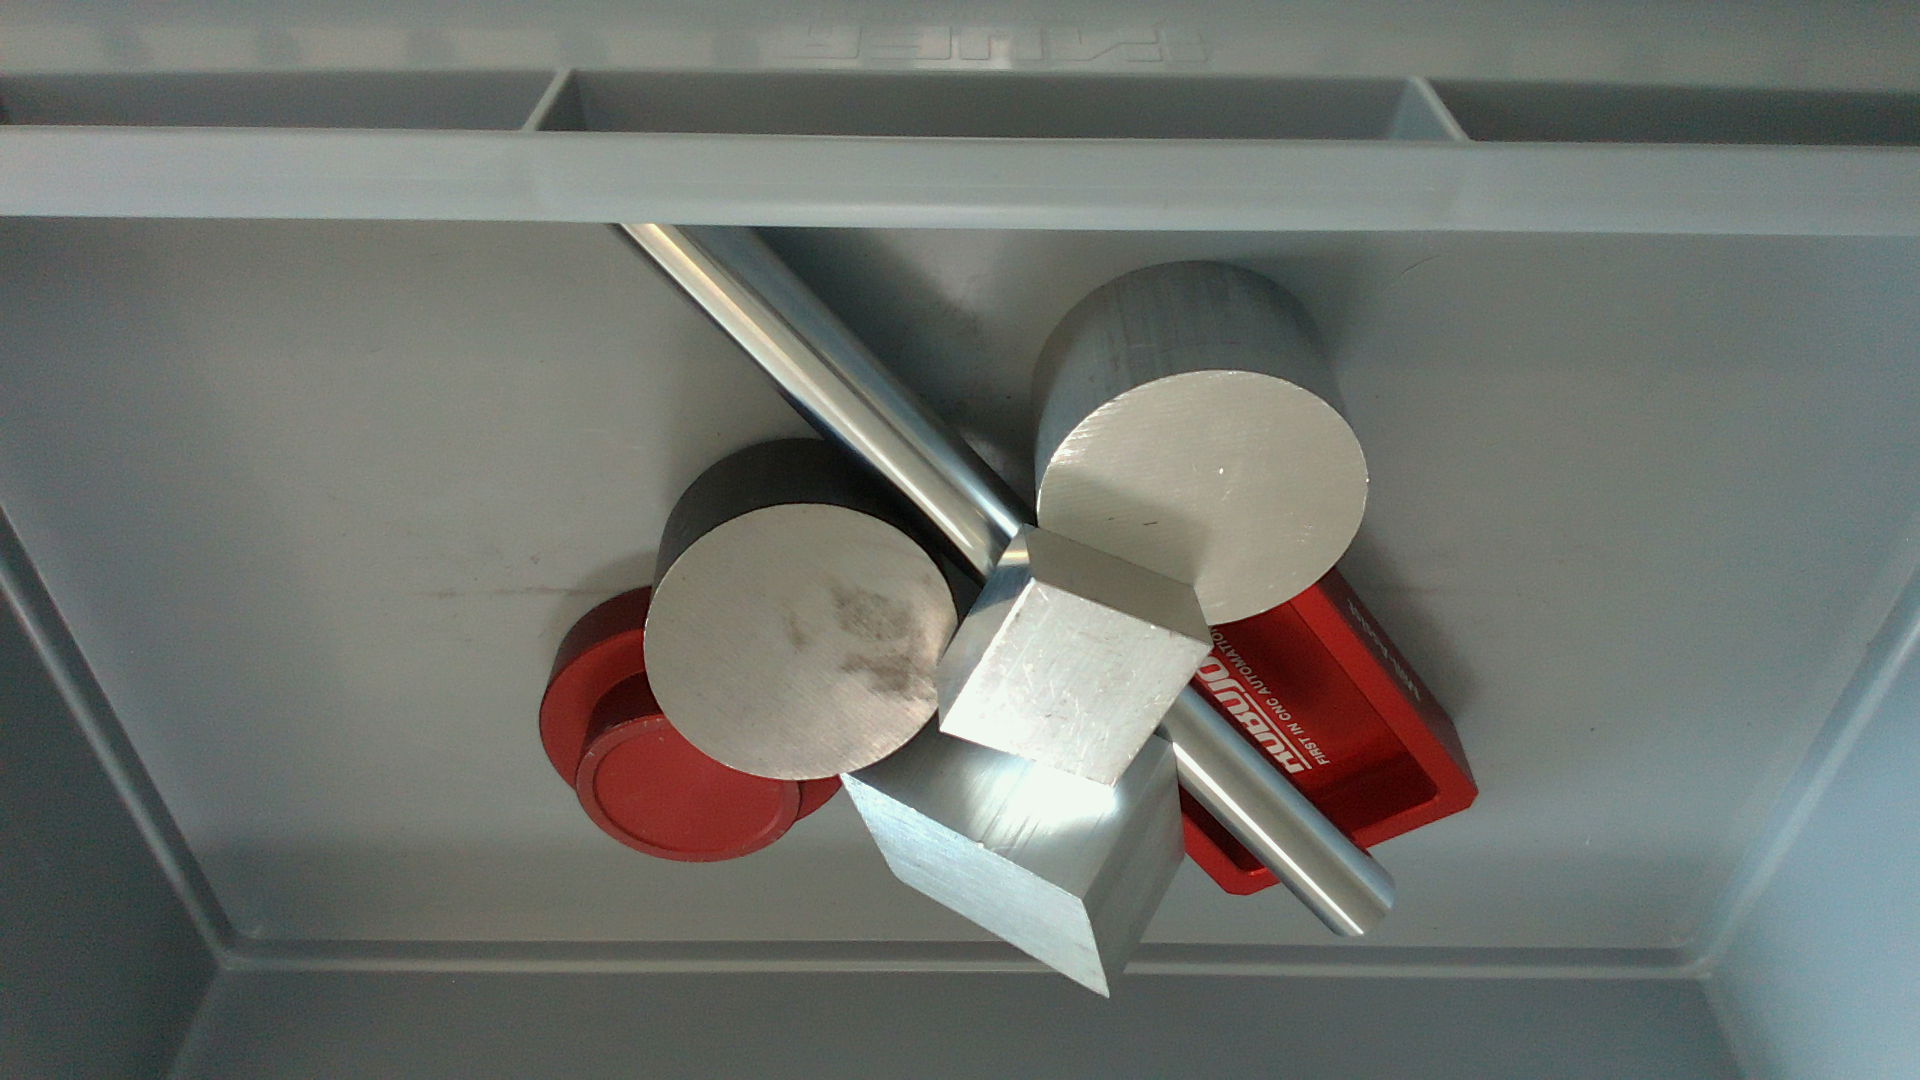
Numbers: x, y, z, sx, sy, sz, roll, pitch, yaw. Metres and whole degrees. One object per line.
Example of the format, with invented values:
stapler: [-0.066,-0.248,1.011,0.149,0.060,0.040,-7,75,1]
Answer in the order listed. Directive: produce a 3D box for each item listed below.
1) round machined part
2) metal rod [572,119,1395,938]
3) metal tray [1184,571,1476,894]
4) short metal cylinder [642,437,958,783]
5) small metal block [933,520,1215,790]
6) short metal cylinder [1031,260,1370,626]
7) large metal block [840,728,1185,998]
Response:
round machined part: [-0.082,0.064,0.430,0.098,0.042,0.098,0,130,0]
metal rod: [0.021,0.011,0.366,0.025,0.025,0.301,-35,113,26]
metal tray: [0.091,0.054,0.431,0.090,0.030,0.130,-30,124,22]
short metal cylinder: [-0.043,0.018,0.373,0.080,0.050,0.080,-3,114,-7]
small metal block: [0.027,0.030,0.345,0.050,0.025,0.050,21,119,-16]
short metal cylinder: [0.059,-0.024,0.353,0.080,0.050,0.080,0,130,0]
large metal block: [0.018,0.082,0.408,0.080,0.050,0.080,22,152,25]
